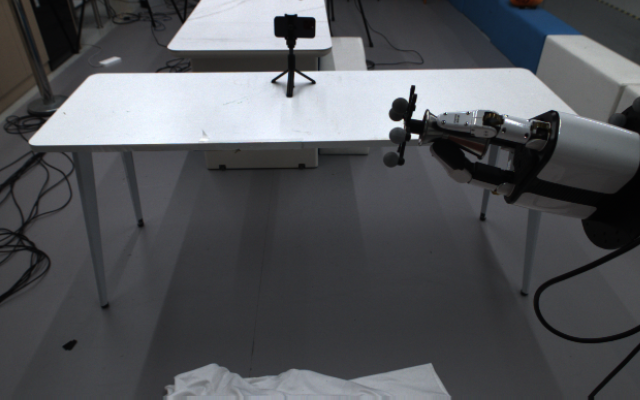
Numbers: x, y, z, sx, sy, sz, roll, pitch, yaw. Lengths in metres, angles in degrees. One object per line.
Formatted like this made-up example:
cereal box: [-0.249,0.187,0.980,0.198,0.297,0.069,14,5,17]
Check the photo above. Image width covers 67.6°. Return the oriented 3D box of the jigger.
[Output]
jigger: [0.148,-0.078,0.521,0.071,0.043,0.043,11,35,3]
